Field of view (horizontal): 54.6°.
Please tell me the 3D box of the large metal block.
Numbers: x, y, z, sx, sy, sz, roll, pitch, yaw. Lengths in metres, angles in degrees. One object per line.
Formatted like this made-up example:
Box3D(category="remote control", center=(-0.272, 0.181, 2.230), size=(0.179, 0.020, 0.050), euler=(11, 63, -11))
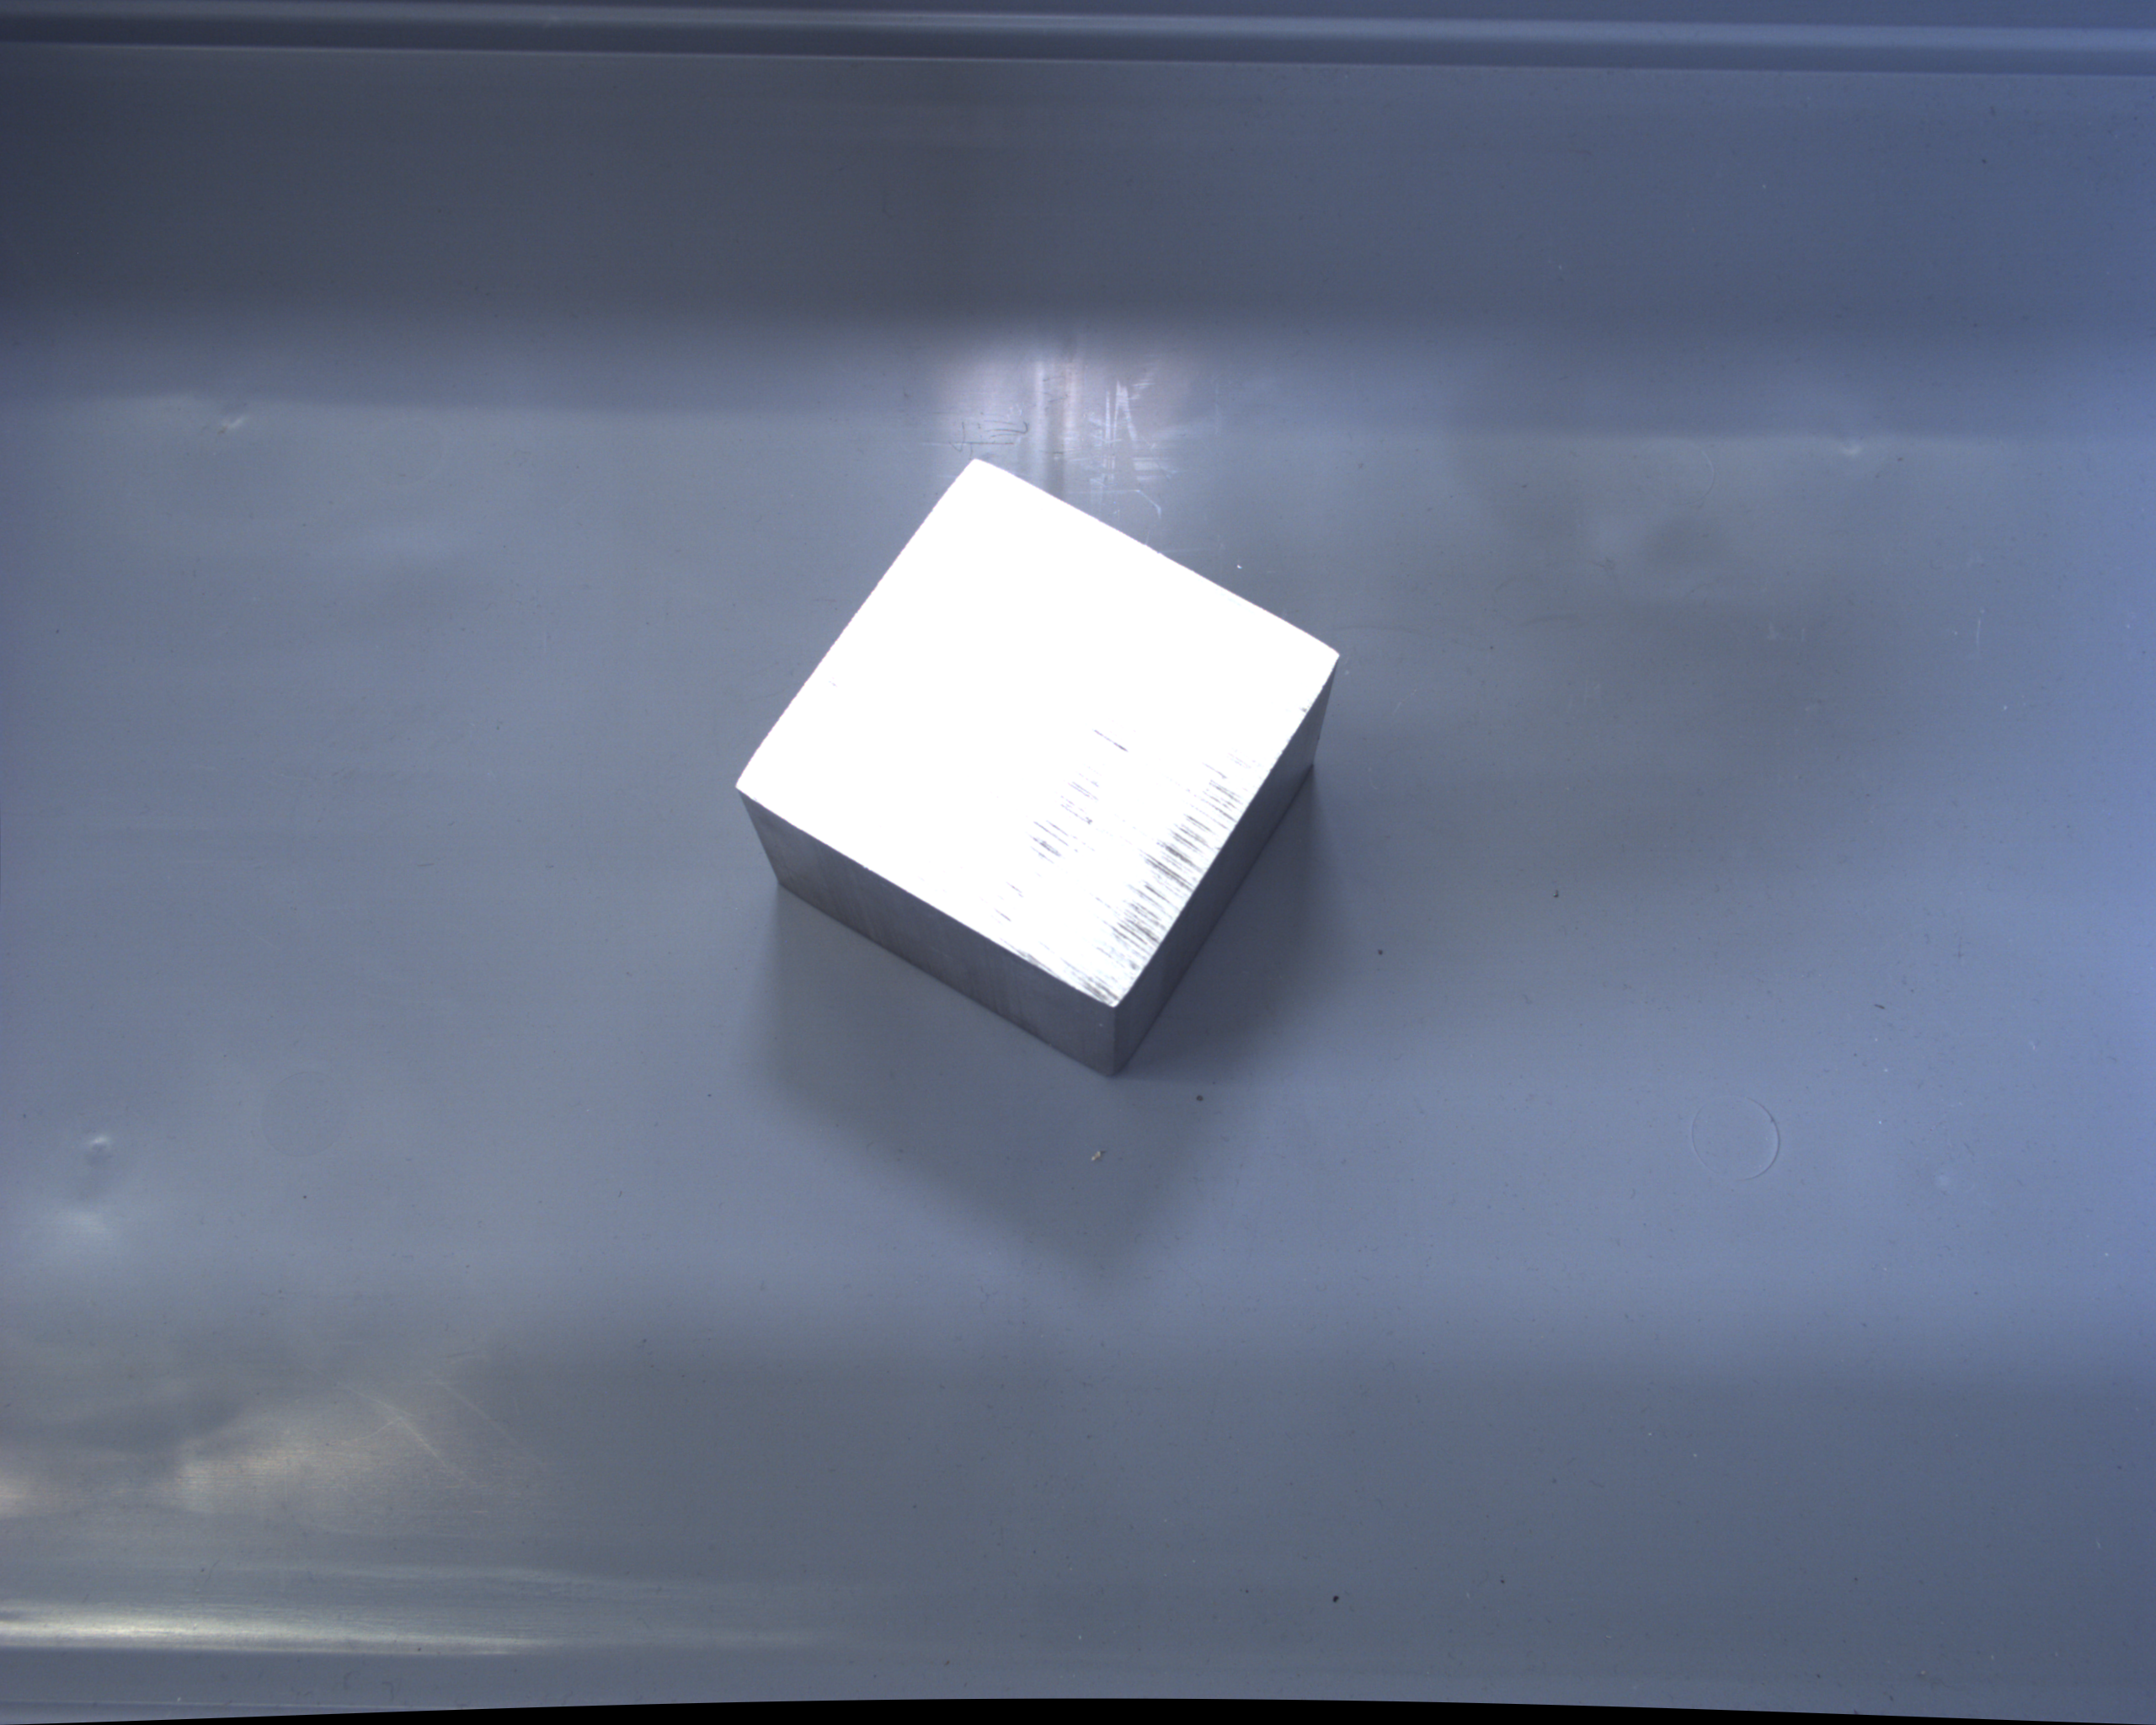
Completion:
Box3D(category="large metal block", center=(-0.007, -0.017, 0.399), size=(0.080, 0.050, 0.080), euler=(30, 72, 10))
